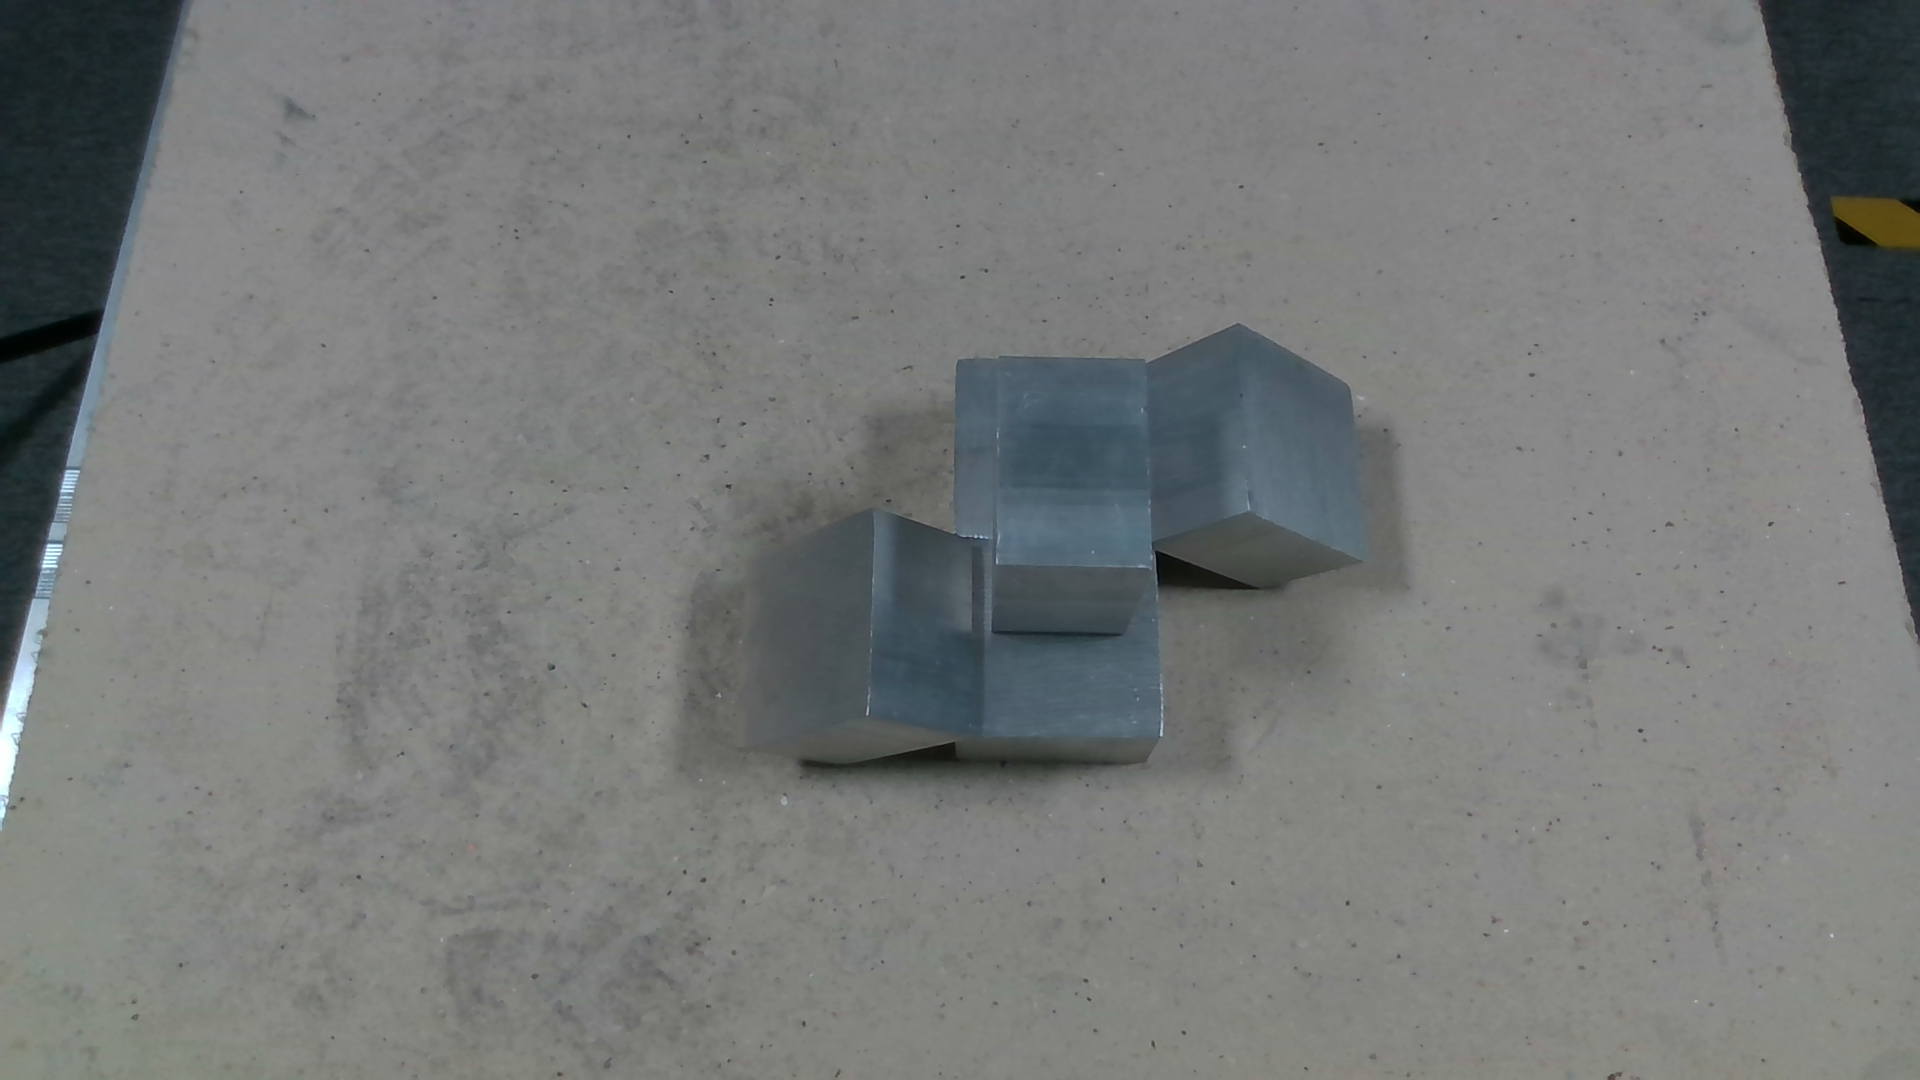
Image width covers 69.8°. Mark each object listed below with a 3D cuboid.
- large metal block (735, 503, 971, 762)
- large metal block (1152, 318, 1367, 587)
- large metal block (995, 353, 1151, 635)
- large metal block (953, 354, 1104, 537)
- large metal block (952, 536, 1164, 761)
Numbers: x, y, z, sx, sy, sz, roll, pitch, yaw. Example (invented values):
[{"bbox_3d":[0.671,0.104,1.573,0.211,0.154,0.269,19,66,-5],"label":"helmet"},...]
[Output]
[{"bbox_3d":[-0.042,0.040,0.538,0.050,0.080,0.080,18,64,-41],"label":"large metal block"},{"bbox_3d":[0.120,-0.033,0.565,0.080,0.050,0.080,19,63,-40],"label":"large metal block"},{"bbox_3d":[0.040,-0.014,0.511,0.050,0.080,0.080,1,70,0],"label":"large metal block"},{"bbox_3d":[0.038,-0.031,0.584,0.080,0.050,0.080,1,70,0],"label":"large metal block"},{"bbox_3d":[0.037,0.045,0.557,0.080,0.050,0.080,1,70,0],"label":"large metal block"}]
